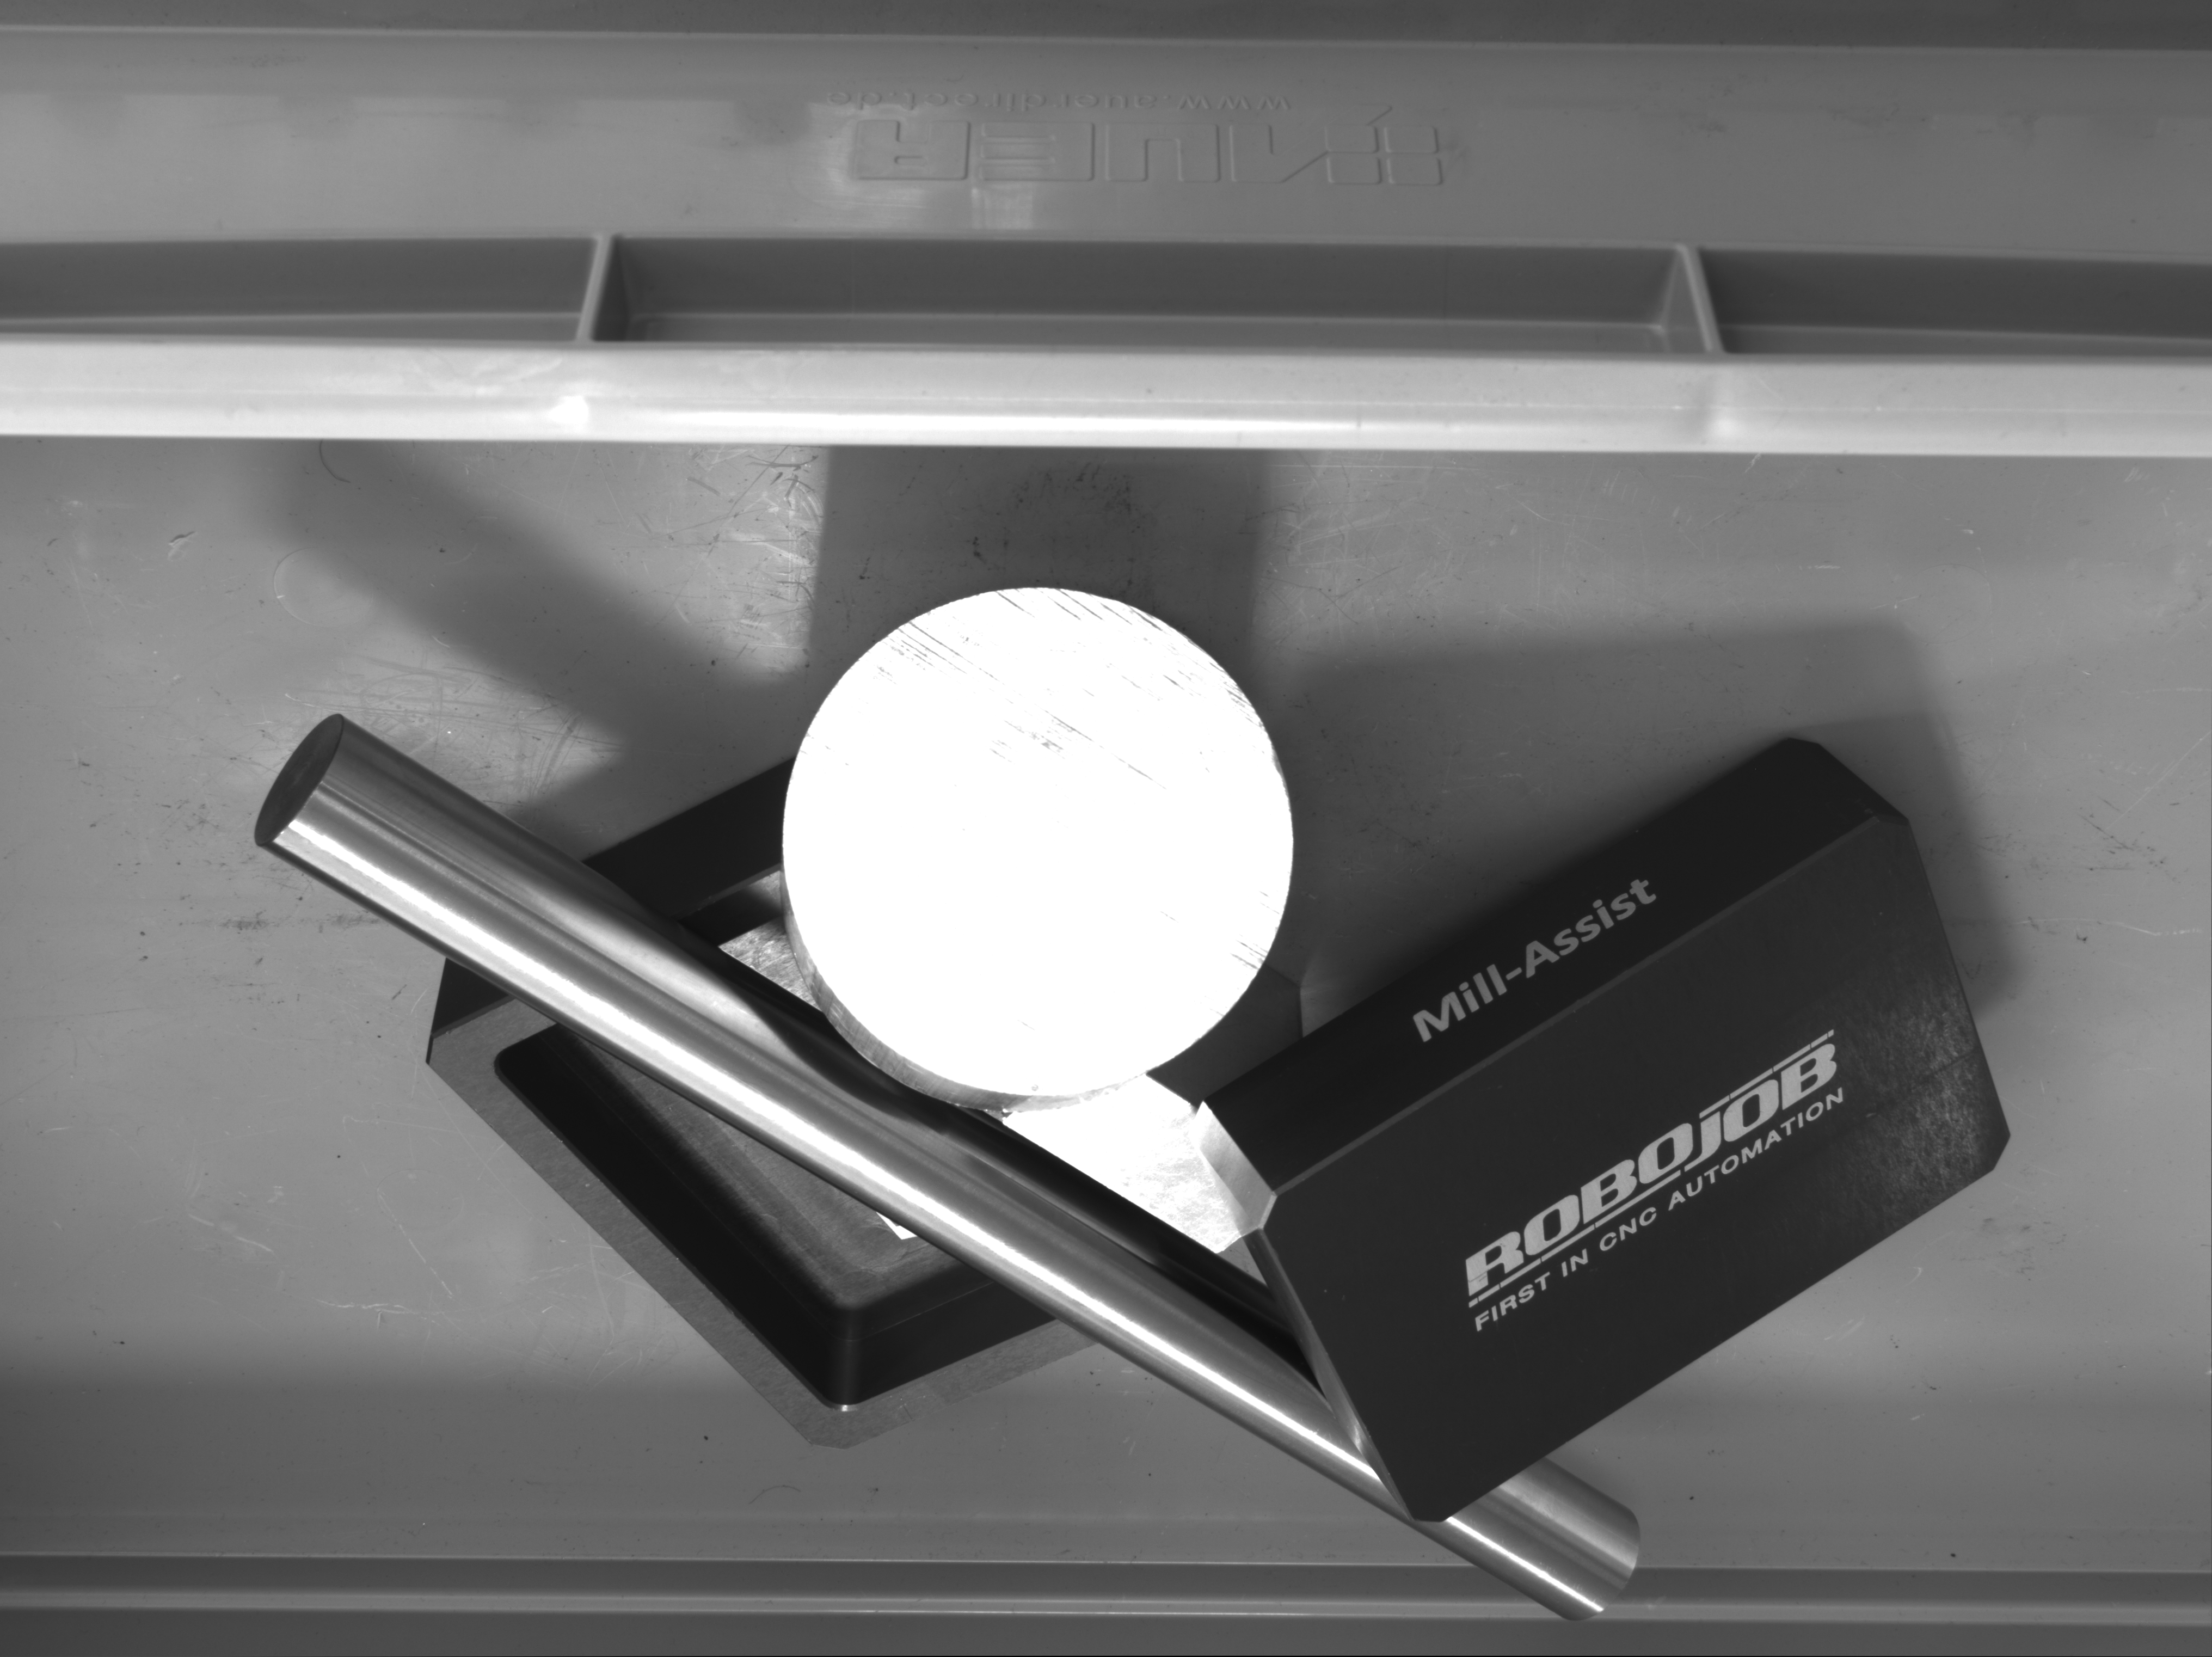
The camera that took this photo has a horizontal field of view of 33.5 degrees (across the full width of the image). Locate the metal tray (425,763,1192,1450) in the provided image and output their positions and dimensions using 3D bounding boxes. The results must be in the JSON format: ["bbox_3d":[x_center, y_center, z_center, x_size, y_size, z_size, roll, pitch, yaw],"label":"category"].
[{"bbox_3d":[-0.051,0.054,0.679,0.090,0.030,0.130,-25,126,20],"label":"metal tray"}]

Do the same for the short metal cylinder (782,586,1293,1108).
[{"bbox_3d":[-0.013,0.005,0.598,0.080,0.080,0.050,6,172,-5],"label":"short metal cylinder"}]

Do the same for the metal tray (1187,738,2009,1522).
[{"bbox_3d":[0.089,0.054,0.647,0.130,0.030,0.090,-31,127,-6],"label":"metal tray"}]

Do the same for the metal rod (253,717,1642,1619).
[{"bbox_3d":[-0.017,0.068,0.656,0.301,0.025,0.025,34,122,-25],"label":"metal rod"}]

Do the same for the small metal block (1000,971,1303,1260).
[{"bbox_3d":[0.009,0.041,0.655,0.050,0.050,0.025,33,123,-25],"label":"small metal block"}]
